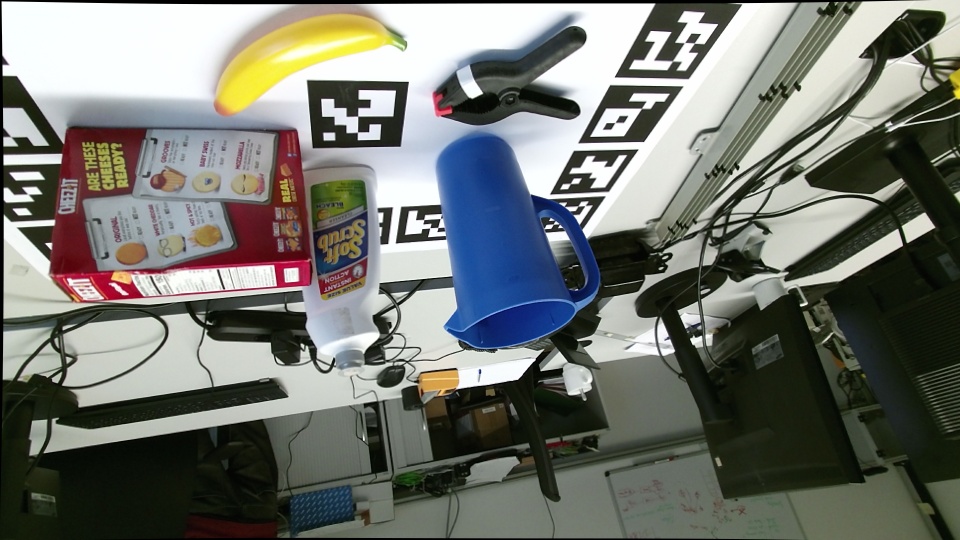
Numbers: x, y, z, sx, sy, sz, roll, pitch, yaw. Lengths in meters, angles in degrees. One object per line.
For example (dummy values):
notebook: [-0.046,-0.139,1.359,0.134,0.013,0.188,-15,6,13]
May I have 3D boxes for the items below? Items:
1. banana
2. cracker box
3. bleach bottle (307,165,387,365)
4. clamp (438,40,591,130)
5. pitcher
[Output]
banana: [-0.170,-0.198,0.519,0.198,0.038,0.074,-19,154,13]
cracker box: [-0.287,-0.058,0.553,0.214,0.163,0.072,-5,156,-20]
bleach bottle: [-0.152,-0.009,0.651,0.103,0.249,0.068,-5,154,-18]
clamp: [0.036,-0.195,0.603,0.166,0.036,0.122,-10,156,-2]
pitcher: [0.040,-0.024,0.666,0.189,0.241,0.133,-11,155,1]
